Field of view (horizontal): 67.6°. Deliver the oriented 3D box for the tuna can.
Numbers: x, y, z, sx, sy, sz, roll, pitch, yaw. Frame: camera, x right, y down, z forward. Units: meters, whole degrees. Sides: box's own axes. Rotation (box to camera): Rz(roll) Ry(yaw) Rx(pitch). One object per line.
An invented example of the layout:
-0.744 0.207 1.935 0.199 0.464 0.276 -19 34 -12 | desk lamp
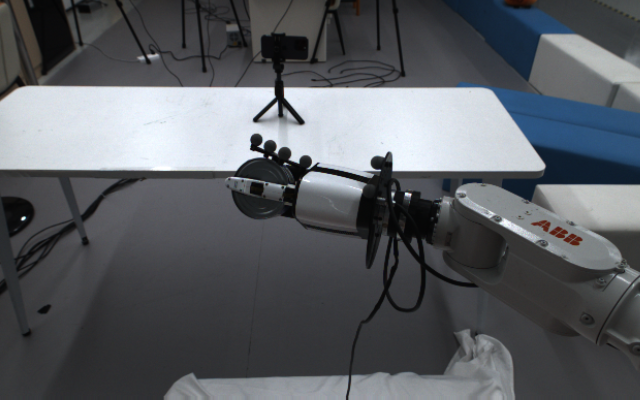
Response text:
-0.076 -0.016 0.679 0.085 0.085 0.034 13 2 16 | tuna can
